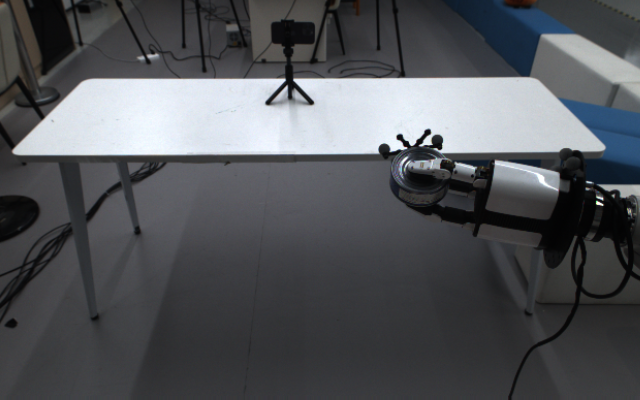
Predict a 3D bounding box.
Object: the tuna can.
[{"bbox_3d":[0.146,-0.036,0.692,0.085,0.034,0.085,-3,59,5],"label":"tuna can"}]
